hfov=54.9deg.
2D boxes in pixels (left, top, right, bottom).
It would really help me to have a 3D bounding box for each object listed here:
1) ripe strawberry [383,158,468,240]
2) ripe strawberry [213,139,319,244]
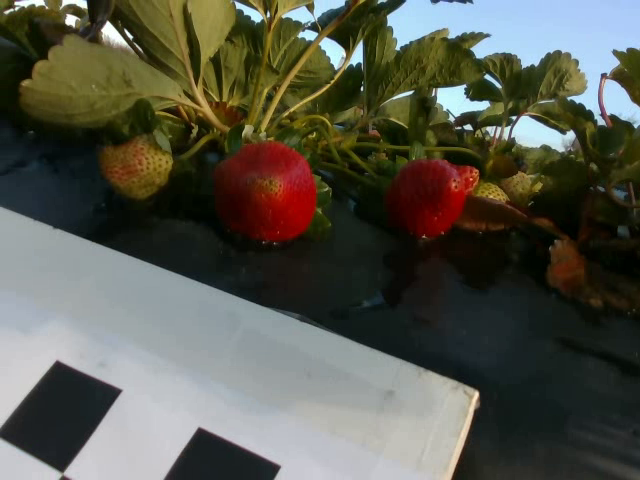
[{"bbox_3d":[0.053,-0.021,0.295,0.044,0.042,0.055,-34,4,-17],"label":"ripe strawberry"},{"bbox_3d":[-0.025,-0.025,0.258,0.050,0.050,0.065,-16,-4,-2],"label":"ripe strawberry"}]
